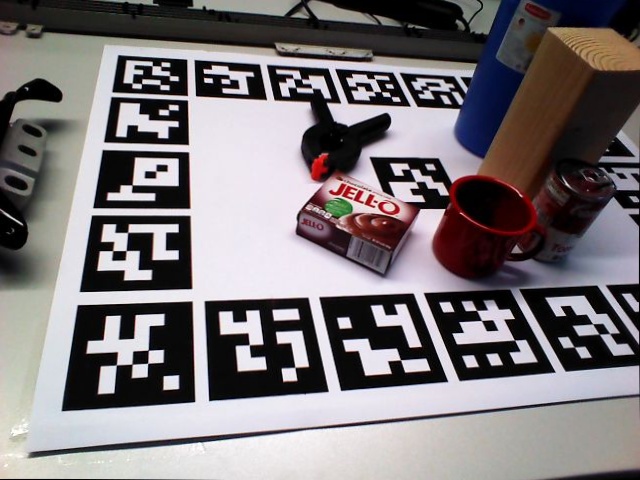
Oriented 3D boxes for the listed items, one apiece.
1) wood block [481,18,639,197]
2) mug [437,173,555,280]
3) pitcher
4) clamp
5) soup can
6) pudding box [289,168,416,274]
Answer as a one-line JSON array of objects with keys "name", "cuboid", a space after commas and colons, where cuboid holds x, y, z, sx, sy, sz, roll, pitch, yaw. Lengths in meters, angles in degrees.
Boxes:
[{"name": "wood block", "cuboid": [0.286, -0.131, 0.597, 0.090, 0.207, 0.090, -1, 47, -17]}, {"name": "mug", "cuboid": [0.185, -0.007, 0.548, 0.117, 0.082, 0.092, 25, 45, 14]}, {"name": "pitcher", "cuboid": [0.293, -0.230, 0.671, 0.189, 0.244, 0.133, -3, 46, -10]}, {"name": "clamp", "cuboid": [0.031, -0.137, 0.683, 0.122, 0.037, 0.164, 25, 47, 3]}, {"name": "soup can", "cuboid": [0.275, -0.030, 0.572, 0.068, 0.102, 0.067, 5, 49, -7]}, {"name": "pudding box", "cuboid": [0.036, -0.023, 0.568, 0.114, 0.039, 0.089, 26, 51, 15]}]
